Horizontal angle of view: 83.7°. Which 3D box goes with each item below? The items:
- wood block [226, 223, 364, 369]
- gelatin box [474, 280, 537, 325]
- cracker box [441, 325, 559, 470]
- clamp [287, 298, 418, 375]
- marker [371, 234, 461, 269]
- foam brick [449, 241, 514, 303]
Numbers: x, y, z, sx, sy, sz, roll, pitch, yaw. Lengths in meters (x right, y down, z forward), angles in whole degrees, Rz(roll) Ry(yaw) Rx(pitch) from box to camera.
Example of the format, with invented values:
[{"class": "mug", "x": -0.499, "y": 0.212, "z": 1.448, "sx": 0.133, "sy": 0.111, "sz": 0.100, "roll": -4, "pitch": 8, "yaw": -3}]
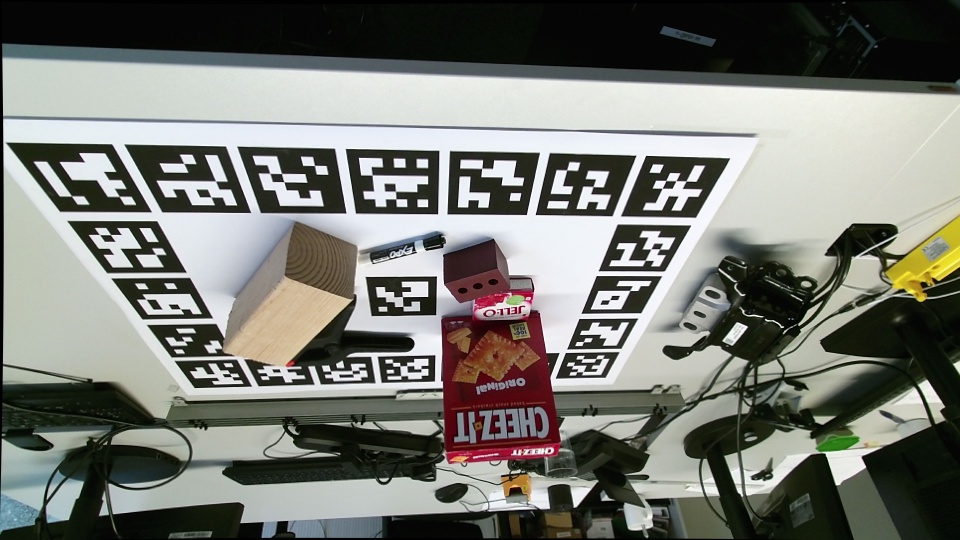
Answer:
[{"class": "wood block", "x": -0.249, "y": 0.043, "z": 0.719, "sx": 0.090, "sy": 0.090, "sz": 0.206, "roll": 24, "pitch": 133, "yaw": -33}, {"class": "gelatin box", "x": 0.037, "y": 0.049, "z": 0.806, "sx": 0.090, "sy": 0.030, "sz": 0.073, "roll": -1, "pitch": 137, "yaw": -6}, {"class": "cracker box", "x": 0.023, "y": 0.189, "z": 0.815, "sx": 0.165, "sy": 0.212, "sz": 0.072, "roll": -2, "pitch": 140, "yaw": -2}, {"class": "clamp", "x": -0.224, "y": 0.125, "z": 0.850, "sx": 0.203, "sy": 0.036, "sz": 0.166, "roll": -22, "pitch": 136, "yaw": 16}, {"class": "marker", "x": -0.085, "y": -0.025, "z": 0.708, "sx": 0.121, "sy": 0.019, "sz": 0.020, "roll": -14, "pitch": 137, "yaw": 8}, {"class": "foam brick", "x": 0.004, "y": 0.006, "z": 0.731, "sx": 0.078, "sy": 0.051, "sz": 0.053, "roll": -17, "pitch": 136, "yaw": 12}]
